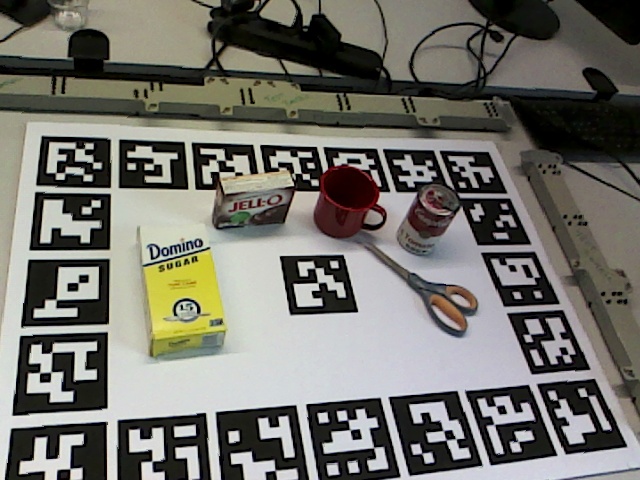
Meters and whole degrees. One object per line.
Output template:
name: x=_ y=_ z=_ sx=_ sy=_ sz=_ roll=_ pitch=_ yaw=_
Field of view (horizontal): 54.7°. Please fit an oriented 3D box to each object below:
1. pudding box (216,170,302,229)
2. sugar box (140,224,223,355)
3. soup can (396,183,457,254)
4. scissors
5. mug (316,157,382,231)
pudding box: x=-0.093 y=-0.061 z=0.923 sx=0.113 sy=0.090 sz=0.039 roll=-10 pitch=65 yaw=-22
sugar box: x=-0.190 y=0.063 z=0.842 sx=0.092 sy=0.045 sz=0.177 roll=-5 pitch=58 yaw=-17
soup can: x=0.166 y=-0.032 z=0.981 sx=0.068 sy=0.102 sz=0.068 roll=7 pitch=52 yaw=-10
scissors: x=0.154 y=0.066 z=0.948 sx=0.203 sy=0.016 sz=0.087 roll=38 pitch=63 yaw=11
mug: x=0.048 y=-0.061 z=0.971 sx=0.117 sy=0.081 sz=0.093 roll=42 pitch=57 yaw=17
